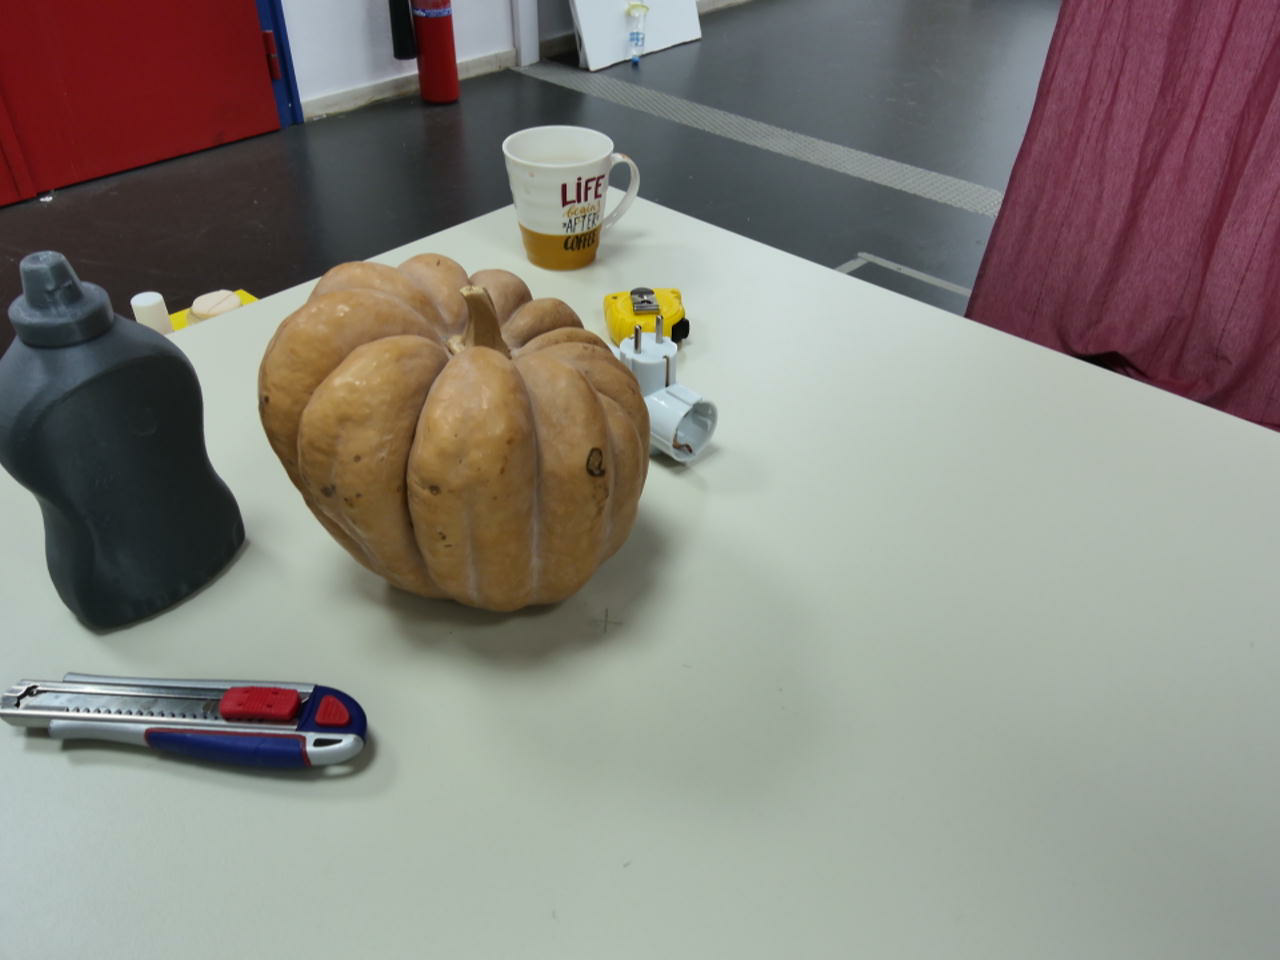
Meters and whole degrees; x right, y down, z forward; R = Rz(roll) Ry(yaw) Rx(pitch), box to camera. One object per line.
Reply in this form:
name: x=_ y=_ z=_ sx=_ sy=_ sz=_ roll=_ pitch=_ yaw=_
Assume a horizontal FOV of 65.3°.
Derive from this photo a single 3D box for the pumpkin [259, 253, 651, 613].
pumpkin: x=-0.092 y=-0.022 z=0.519 sx=0.199 sy=0.177 sz=0.198 roll=1 pitch=37 yaw=-1
